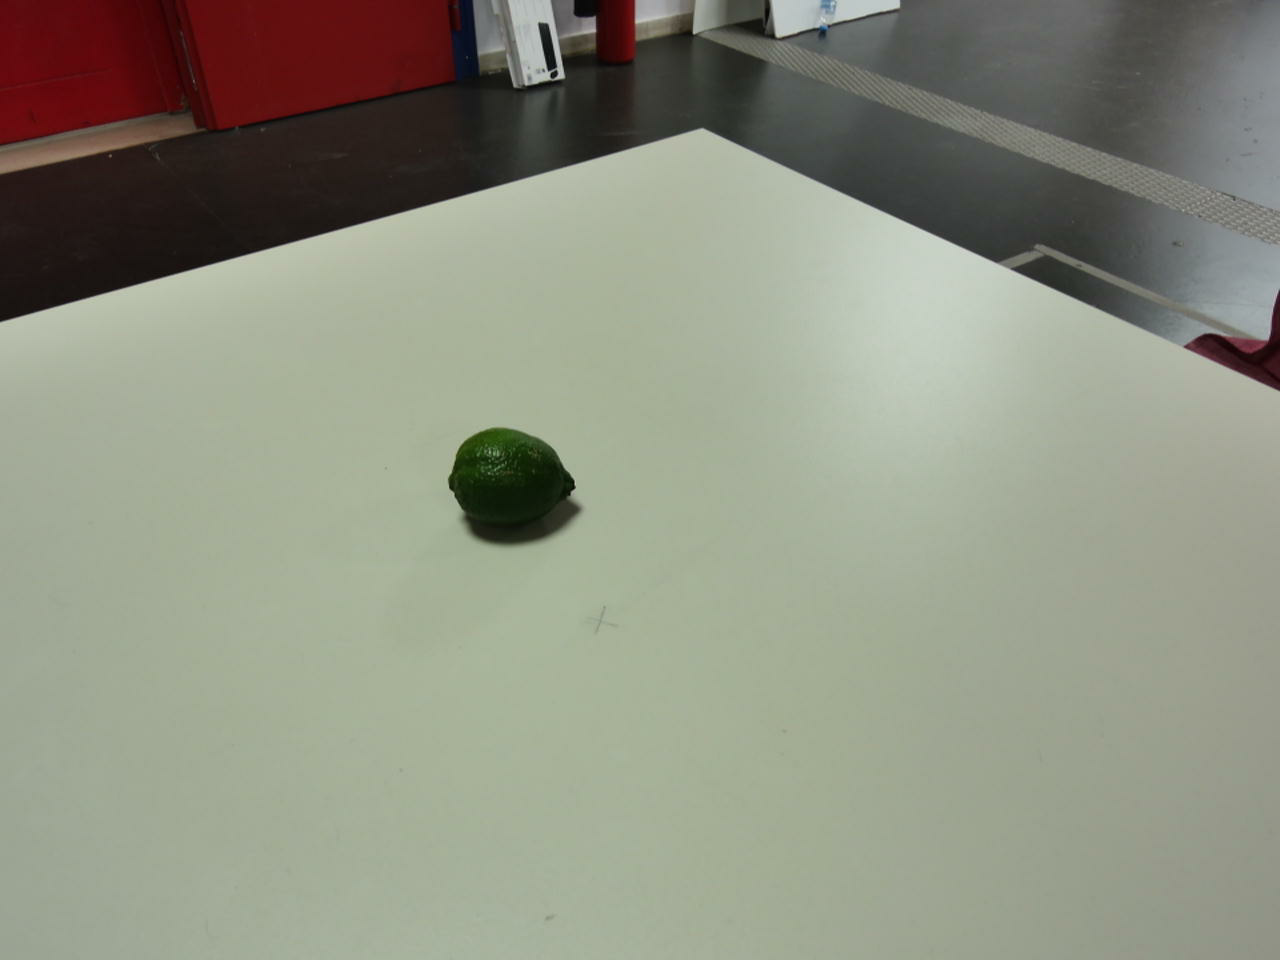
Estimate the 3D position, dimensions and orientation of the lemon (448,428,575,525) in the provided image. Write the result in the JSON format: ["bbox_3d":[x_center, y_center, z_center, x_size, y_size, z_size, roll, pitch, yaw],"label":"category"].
[{"bbox_3d":[-0.069,-0.002,0.514,0.057,0.051,0.054,-27,46,-32],"label":"lemon"}]
